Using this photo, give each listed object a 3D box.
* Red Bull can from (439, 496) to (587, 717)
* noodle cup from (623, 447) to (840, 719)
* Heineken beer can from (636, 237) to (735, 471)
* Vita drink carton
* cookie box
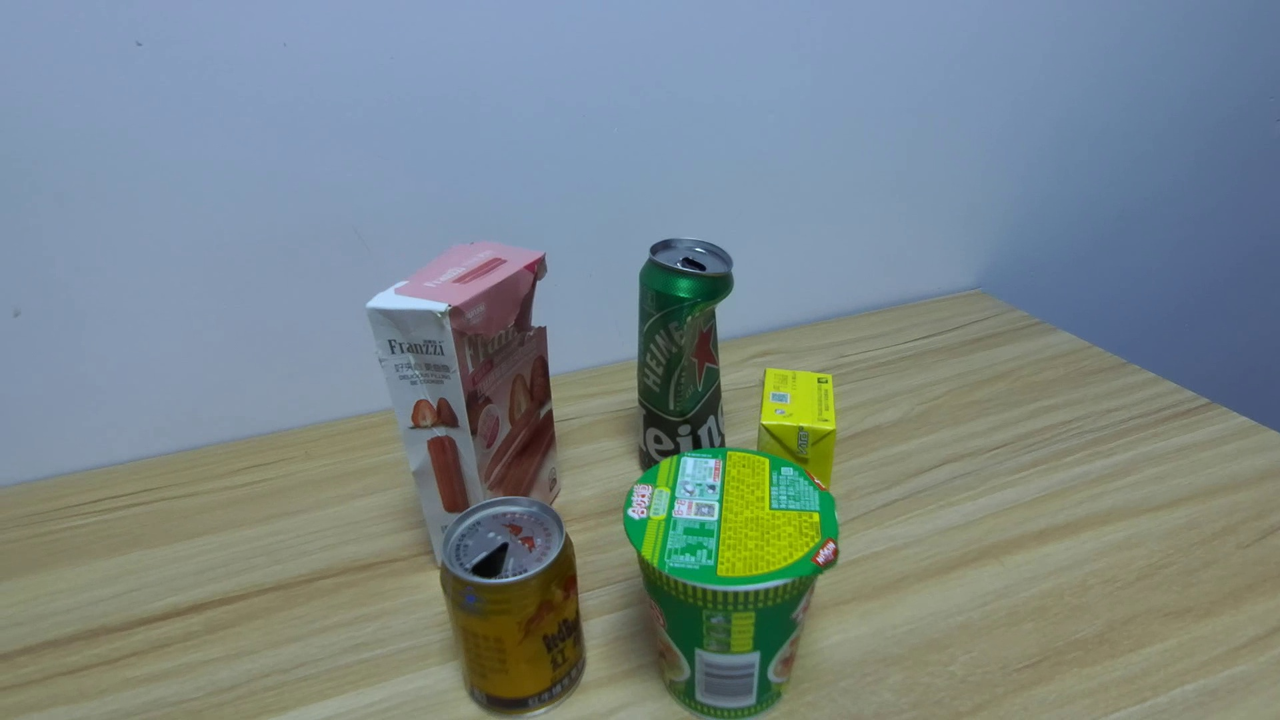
[{"bbox_3d":[-0.064,0.124,0.359,0.068,0.093,0.068,-2,28,1],"label":"Red Bull can"},{"bbox_3d":[0.043,0.119,0.354,0.097,0.110,0.097,-1,27,1],"label":"noodle cup"},{"bbox_3d":[0.033,0.004,0.493,0.068,0.168,0.069,-9,30,-19],"label":"Heineken beer can"},{"bbox_3d":[0.094,0.066,0.435,0.043,0.109,0.076,4,29,12],"label":"Vita drink carton"},{"bbox_3d":[-0.098,0.032,0.436,0.059,0.186,0.105,10,29,18],"label":"cookie box"}]
